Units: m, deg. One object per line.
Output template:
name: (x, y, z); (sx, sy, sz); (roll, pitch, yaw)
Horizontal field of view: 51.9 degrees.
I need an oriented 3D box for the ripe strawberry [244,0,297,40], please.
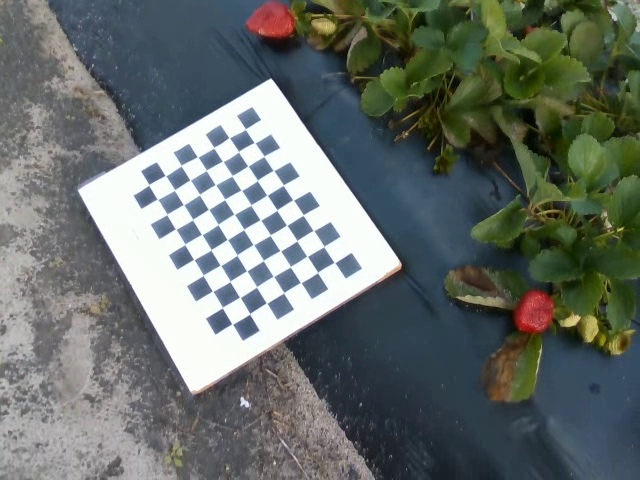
ripe strawberry: (-0.073, -0.316, 0.932); (0.074, 0.067, 0.039); (-28, -21, -7)
